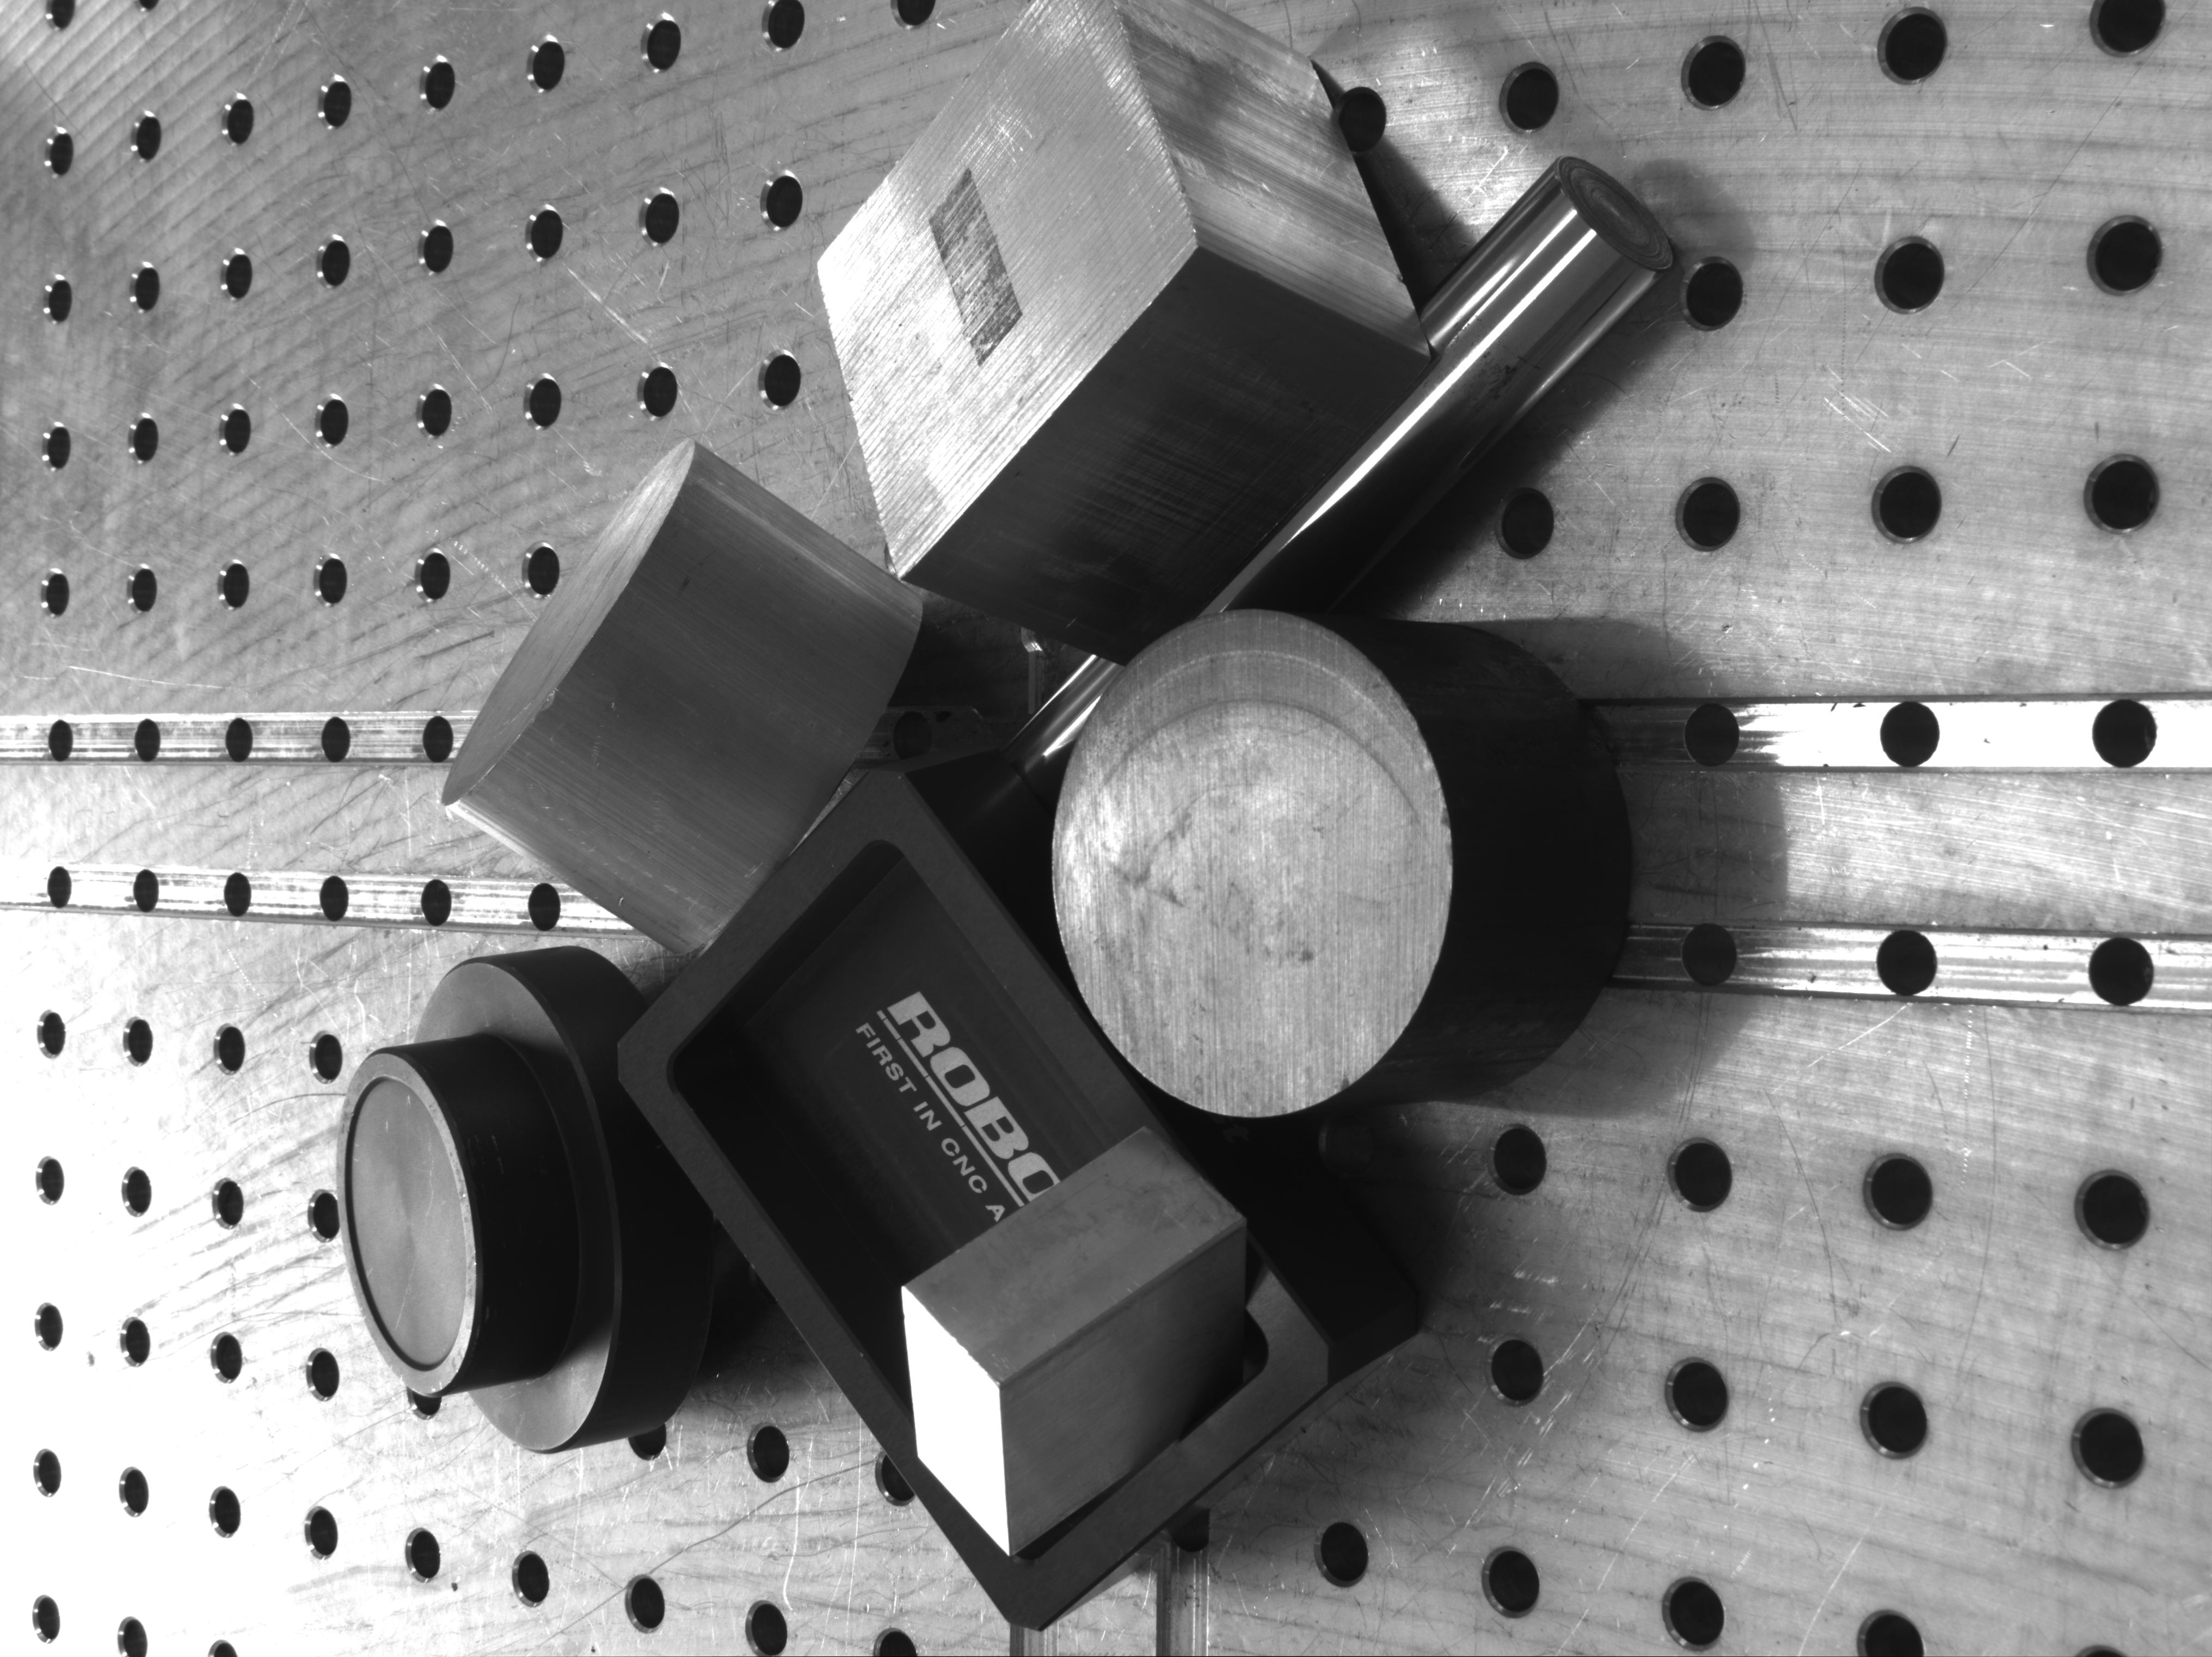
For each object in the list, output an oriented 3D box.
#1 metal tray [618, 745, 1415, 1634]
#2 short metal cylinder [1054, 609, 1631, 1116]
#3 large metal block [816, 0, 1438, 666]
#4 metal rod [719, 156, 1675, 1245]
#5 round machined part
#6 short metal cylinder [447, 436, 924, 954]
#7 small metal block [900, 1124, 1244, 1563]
[{"bbox_3d":[-0.018,0.062,0.642,0.090,0.030,0.130,-45,75,31],"label":"metal tray"},{"bbox_3d":[0.038,0.005,0.599,0.080,0.050,0.080,0,90,40],"label":"short metal cylinder"},{"bbox_3d":[0.001,-0.087,0.616,0.080,0.050,0.080,-45,43,31],"label":"large metal block"},{"bbox_3d":[-0.009,-0.005,0.658,0.300,0.025,0.025,-46,62,31],"label":"metal rod"},{"bbox_3d":[-0.118,0.074,0.720,0.098,0.042,0.098,14,107,54],"label":"round machined part"},{"bbox_3d":[-0.077,-0.024,0.671,0.080,0.050,0.080,-49,17,21],"label":"short metal cylinder"},{"bbox_3d":[-0.005,0.084,0.598,0.025,0.050,0.050,41,150,31],"label":"small metal block"}]
